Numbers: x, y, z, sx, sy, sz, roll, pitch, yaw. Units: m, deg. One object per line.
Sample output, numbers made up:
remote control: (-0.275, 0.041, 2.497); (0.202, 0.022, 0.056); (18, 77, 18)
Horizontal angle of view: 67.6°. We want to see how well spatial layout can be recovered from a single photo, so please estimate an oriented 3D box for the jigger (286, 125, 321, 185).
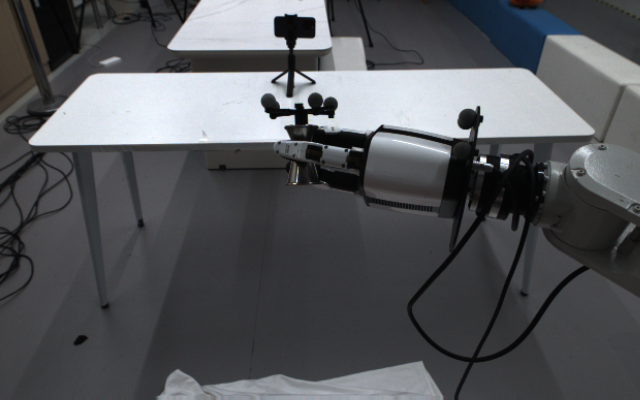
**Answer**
jigger: (-0.021, -0.051, 0.564); (0.043, 0.071, 0.043); (-2, 3, 0)
